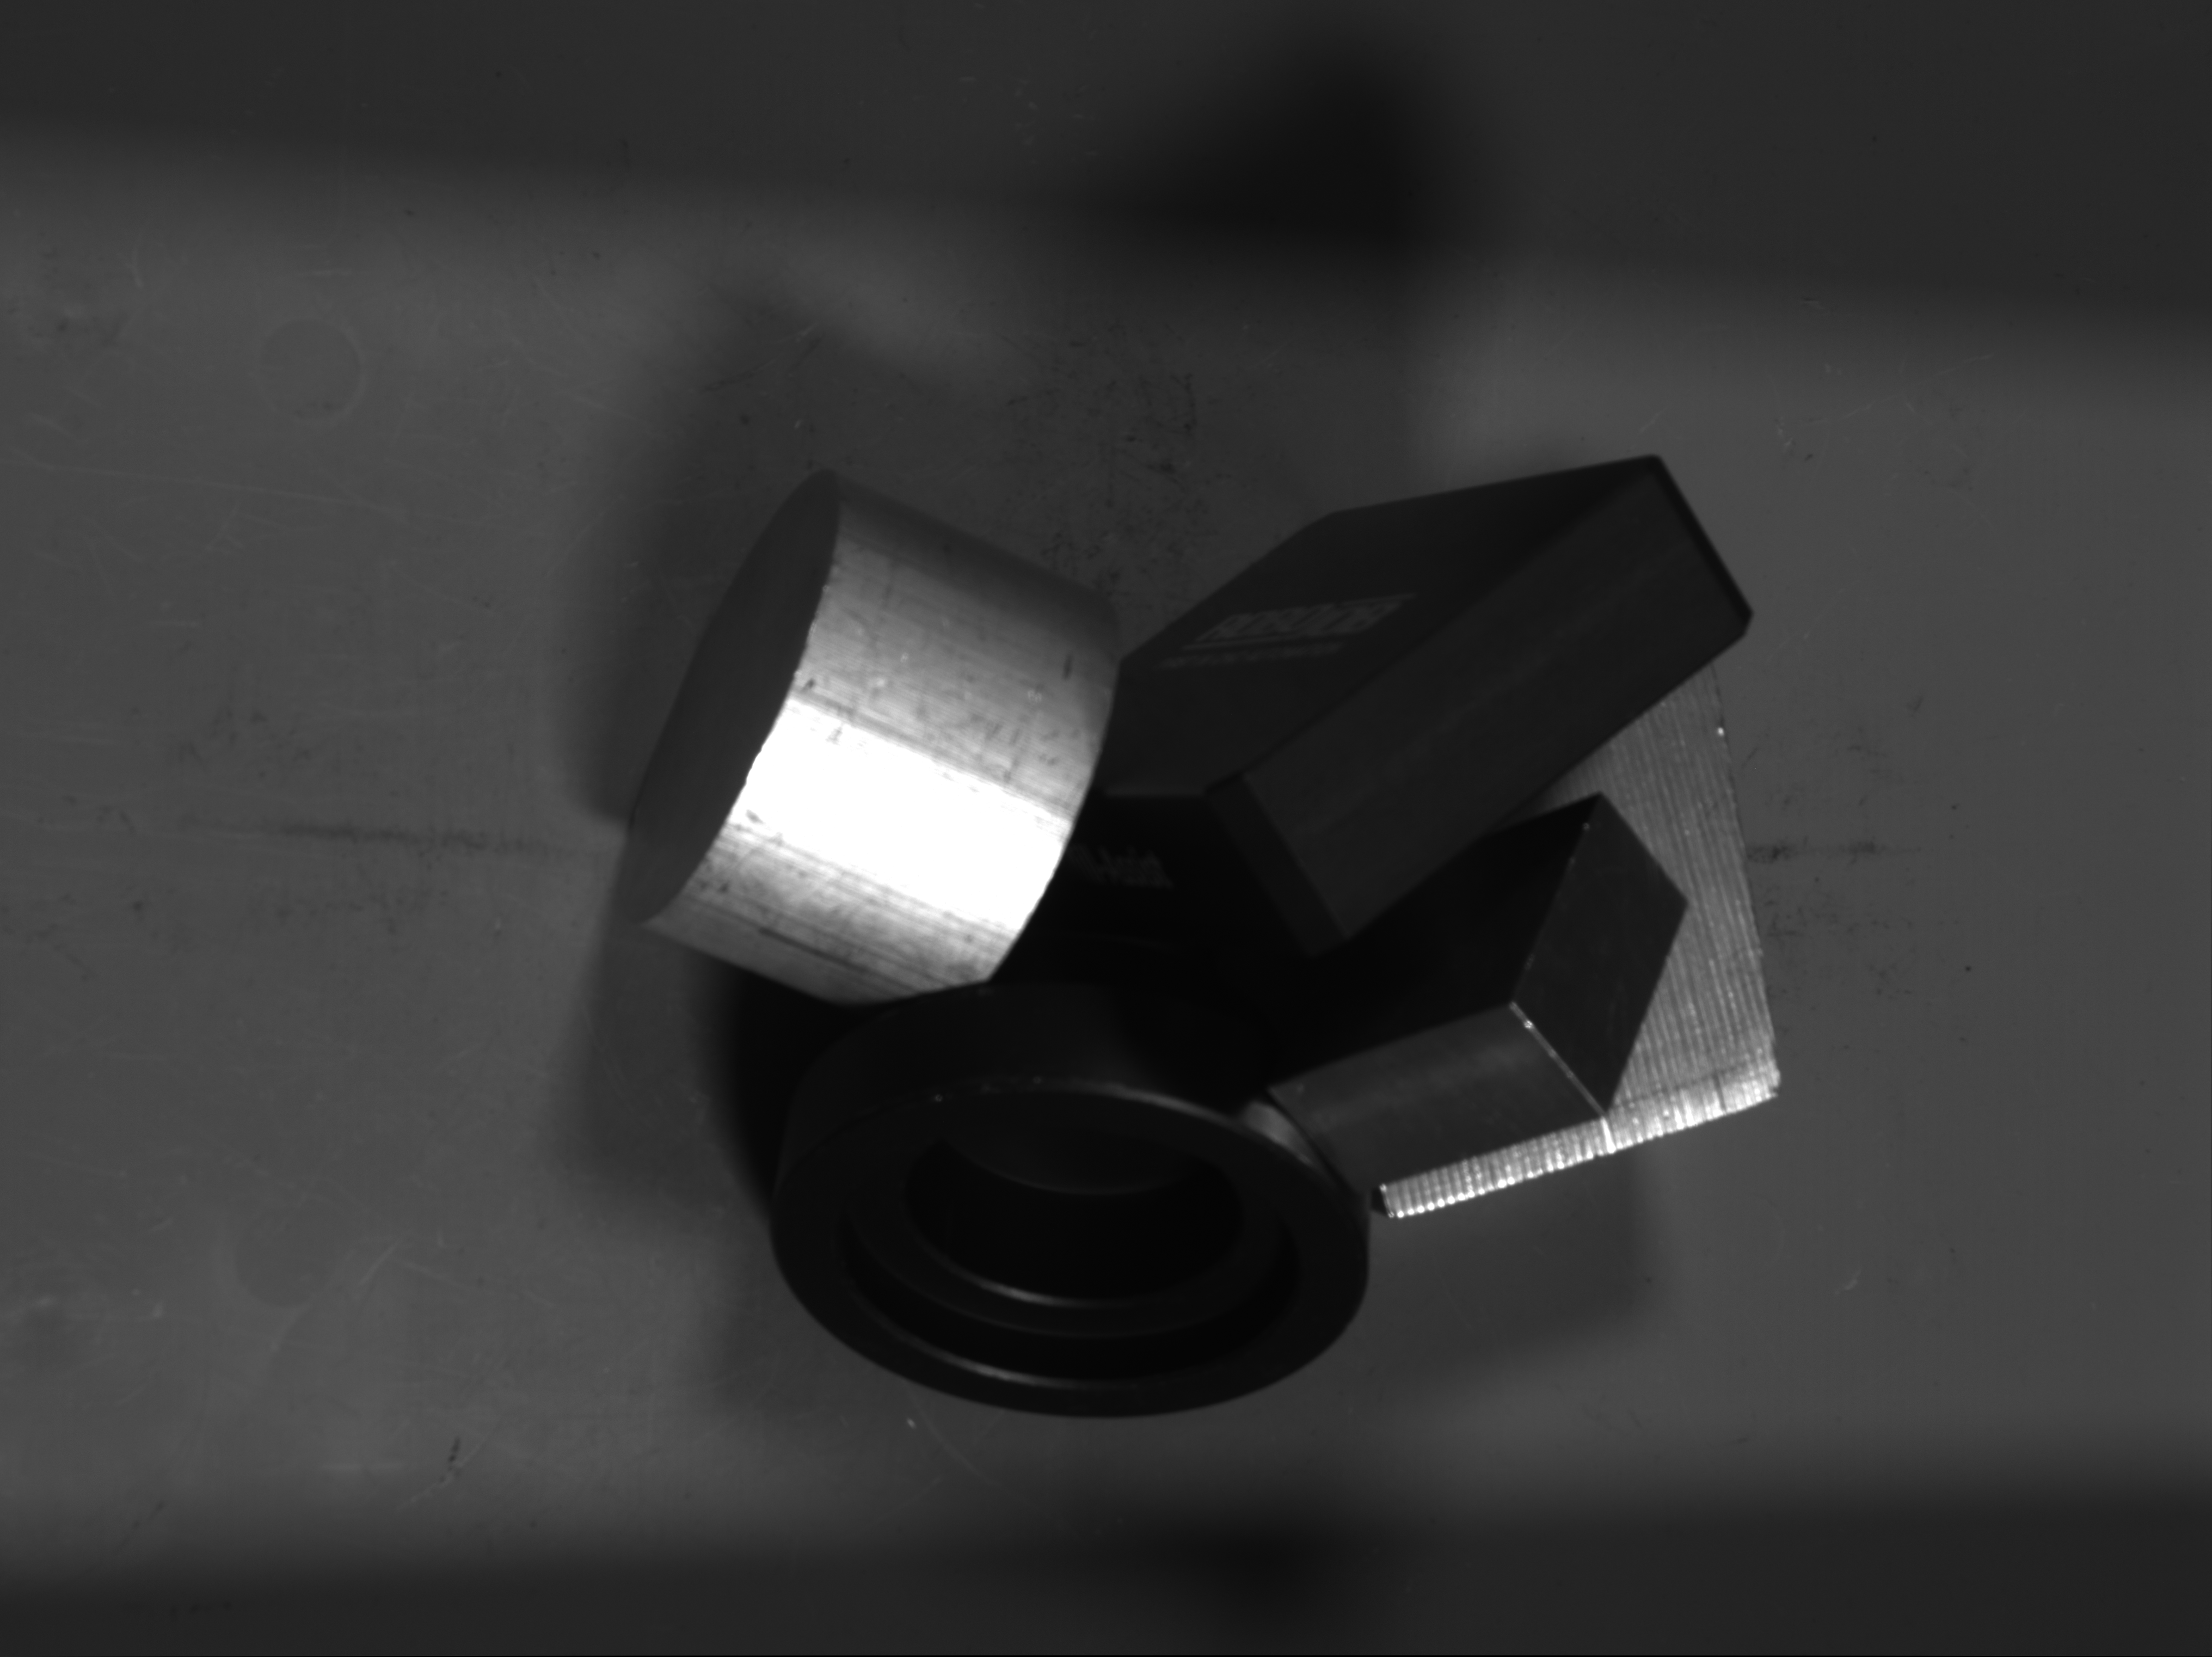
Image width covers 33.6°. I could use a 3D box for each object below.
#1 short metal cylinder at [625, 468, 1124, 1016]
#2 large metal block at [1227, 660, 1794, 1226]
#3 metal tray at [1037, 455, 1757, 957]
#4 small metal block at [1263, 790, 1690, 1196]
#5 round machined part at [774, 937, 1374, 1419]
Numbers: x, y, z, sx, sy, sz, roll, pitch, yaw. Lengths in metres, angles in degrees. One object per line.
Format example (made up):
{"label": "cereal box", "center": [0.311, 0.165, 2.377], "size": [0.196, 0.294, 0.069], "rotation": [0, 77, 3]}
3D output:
{"label": "short metal cylinder", "center": [-0.039, -0.012, 0.599], "size": [0.050, 0.080, 0.080], "rotation": [24, 82, -18]}
{"label": "large metal block", "center": [0.067, 0.017, 0.645], "size": [0.080, 0.050, 0.080], "rotation": [-15, 99, -19]}
{"label": "metal tray", "center": [0.036, -0.019, 0.599], "size": [0.090, 0.130, 0.030], "rotation": [-37, 103, -16]}
{"label": "small metal block", "center": [0.059, 0.026, 0.578], "size": [0.025, 0.050, 0.050], "rotation": [50, 43, -20]}
{"label": "round machined part", "center": [-0.004, 0.055, 0.612], "size": [0.098, 0.098, 0.042], "rotation": [22, 47, -19]}
